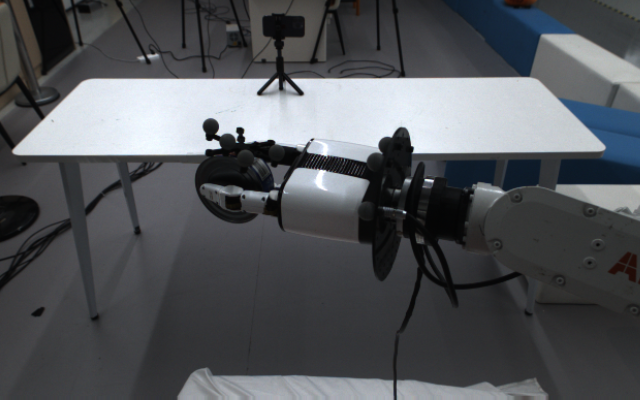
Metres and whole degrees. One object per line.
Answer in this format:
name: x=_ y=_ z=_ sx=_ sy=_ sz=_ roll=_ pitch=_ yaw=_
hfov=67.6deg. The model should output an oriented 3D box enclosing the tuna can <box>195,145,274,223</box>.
tuna can: x=-0.095 y=-0.018 z=0.555 sx=0.085 sy=0.085 sz=0.034 roll=12 pitch=30 yaw=15
